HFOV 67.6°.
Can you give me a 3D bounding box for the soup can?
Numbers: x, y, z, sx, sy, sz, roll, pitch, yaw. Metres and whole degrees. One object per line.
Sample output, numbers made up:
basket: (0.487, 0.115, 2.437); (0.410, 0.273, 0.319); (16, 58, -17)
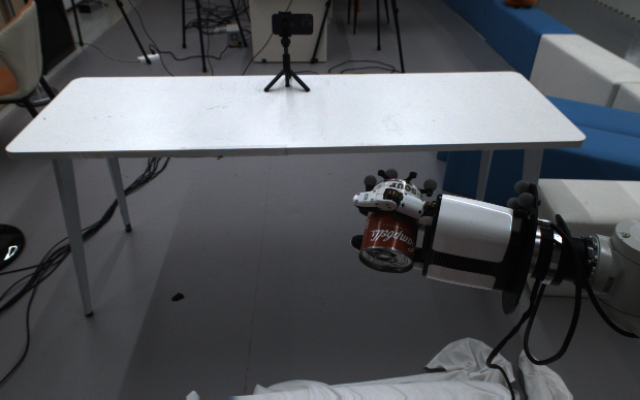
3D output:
soup can: (0.092, 0.032, 0.610); (0.067, 0.067, 0.101); (9, 58, 10)
